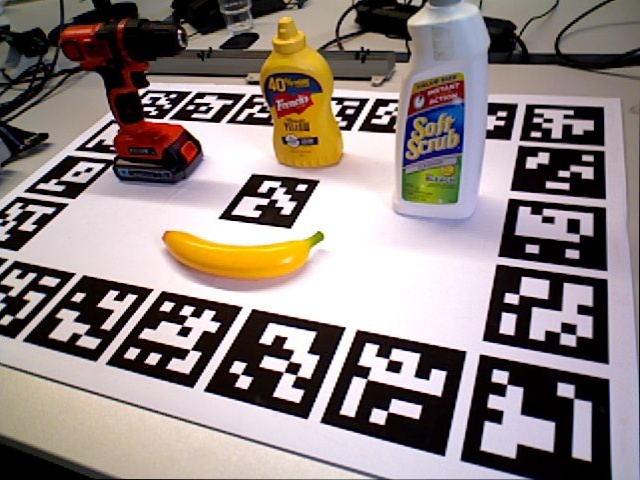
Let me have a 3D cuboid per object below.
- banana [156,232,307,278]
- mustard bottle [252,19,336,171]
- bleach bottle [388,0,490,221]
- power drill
[{"bbox_3d":[-0.101,0.007,0.594,0.198,0.039,0.072,2,45,19],"label":"banana"},{"bbox_3d":[-0.036,-0.181,0.687,0.096,0.195,0.057,4,43,13],"label":"mustard bottle"},{"bbox_3d":[0.117,-0.139,0.555,0.103,0.255,0.066,15,47,26],"label":"bleach bottle"},{"bbox_3d":[-0.231,-0.197,0.704,0.185,0.190,0.056,1,42,19],"label":"power drill"}]
